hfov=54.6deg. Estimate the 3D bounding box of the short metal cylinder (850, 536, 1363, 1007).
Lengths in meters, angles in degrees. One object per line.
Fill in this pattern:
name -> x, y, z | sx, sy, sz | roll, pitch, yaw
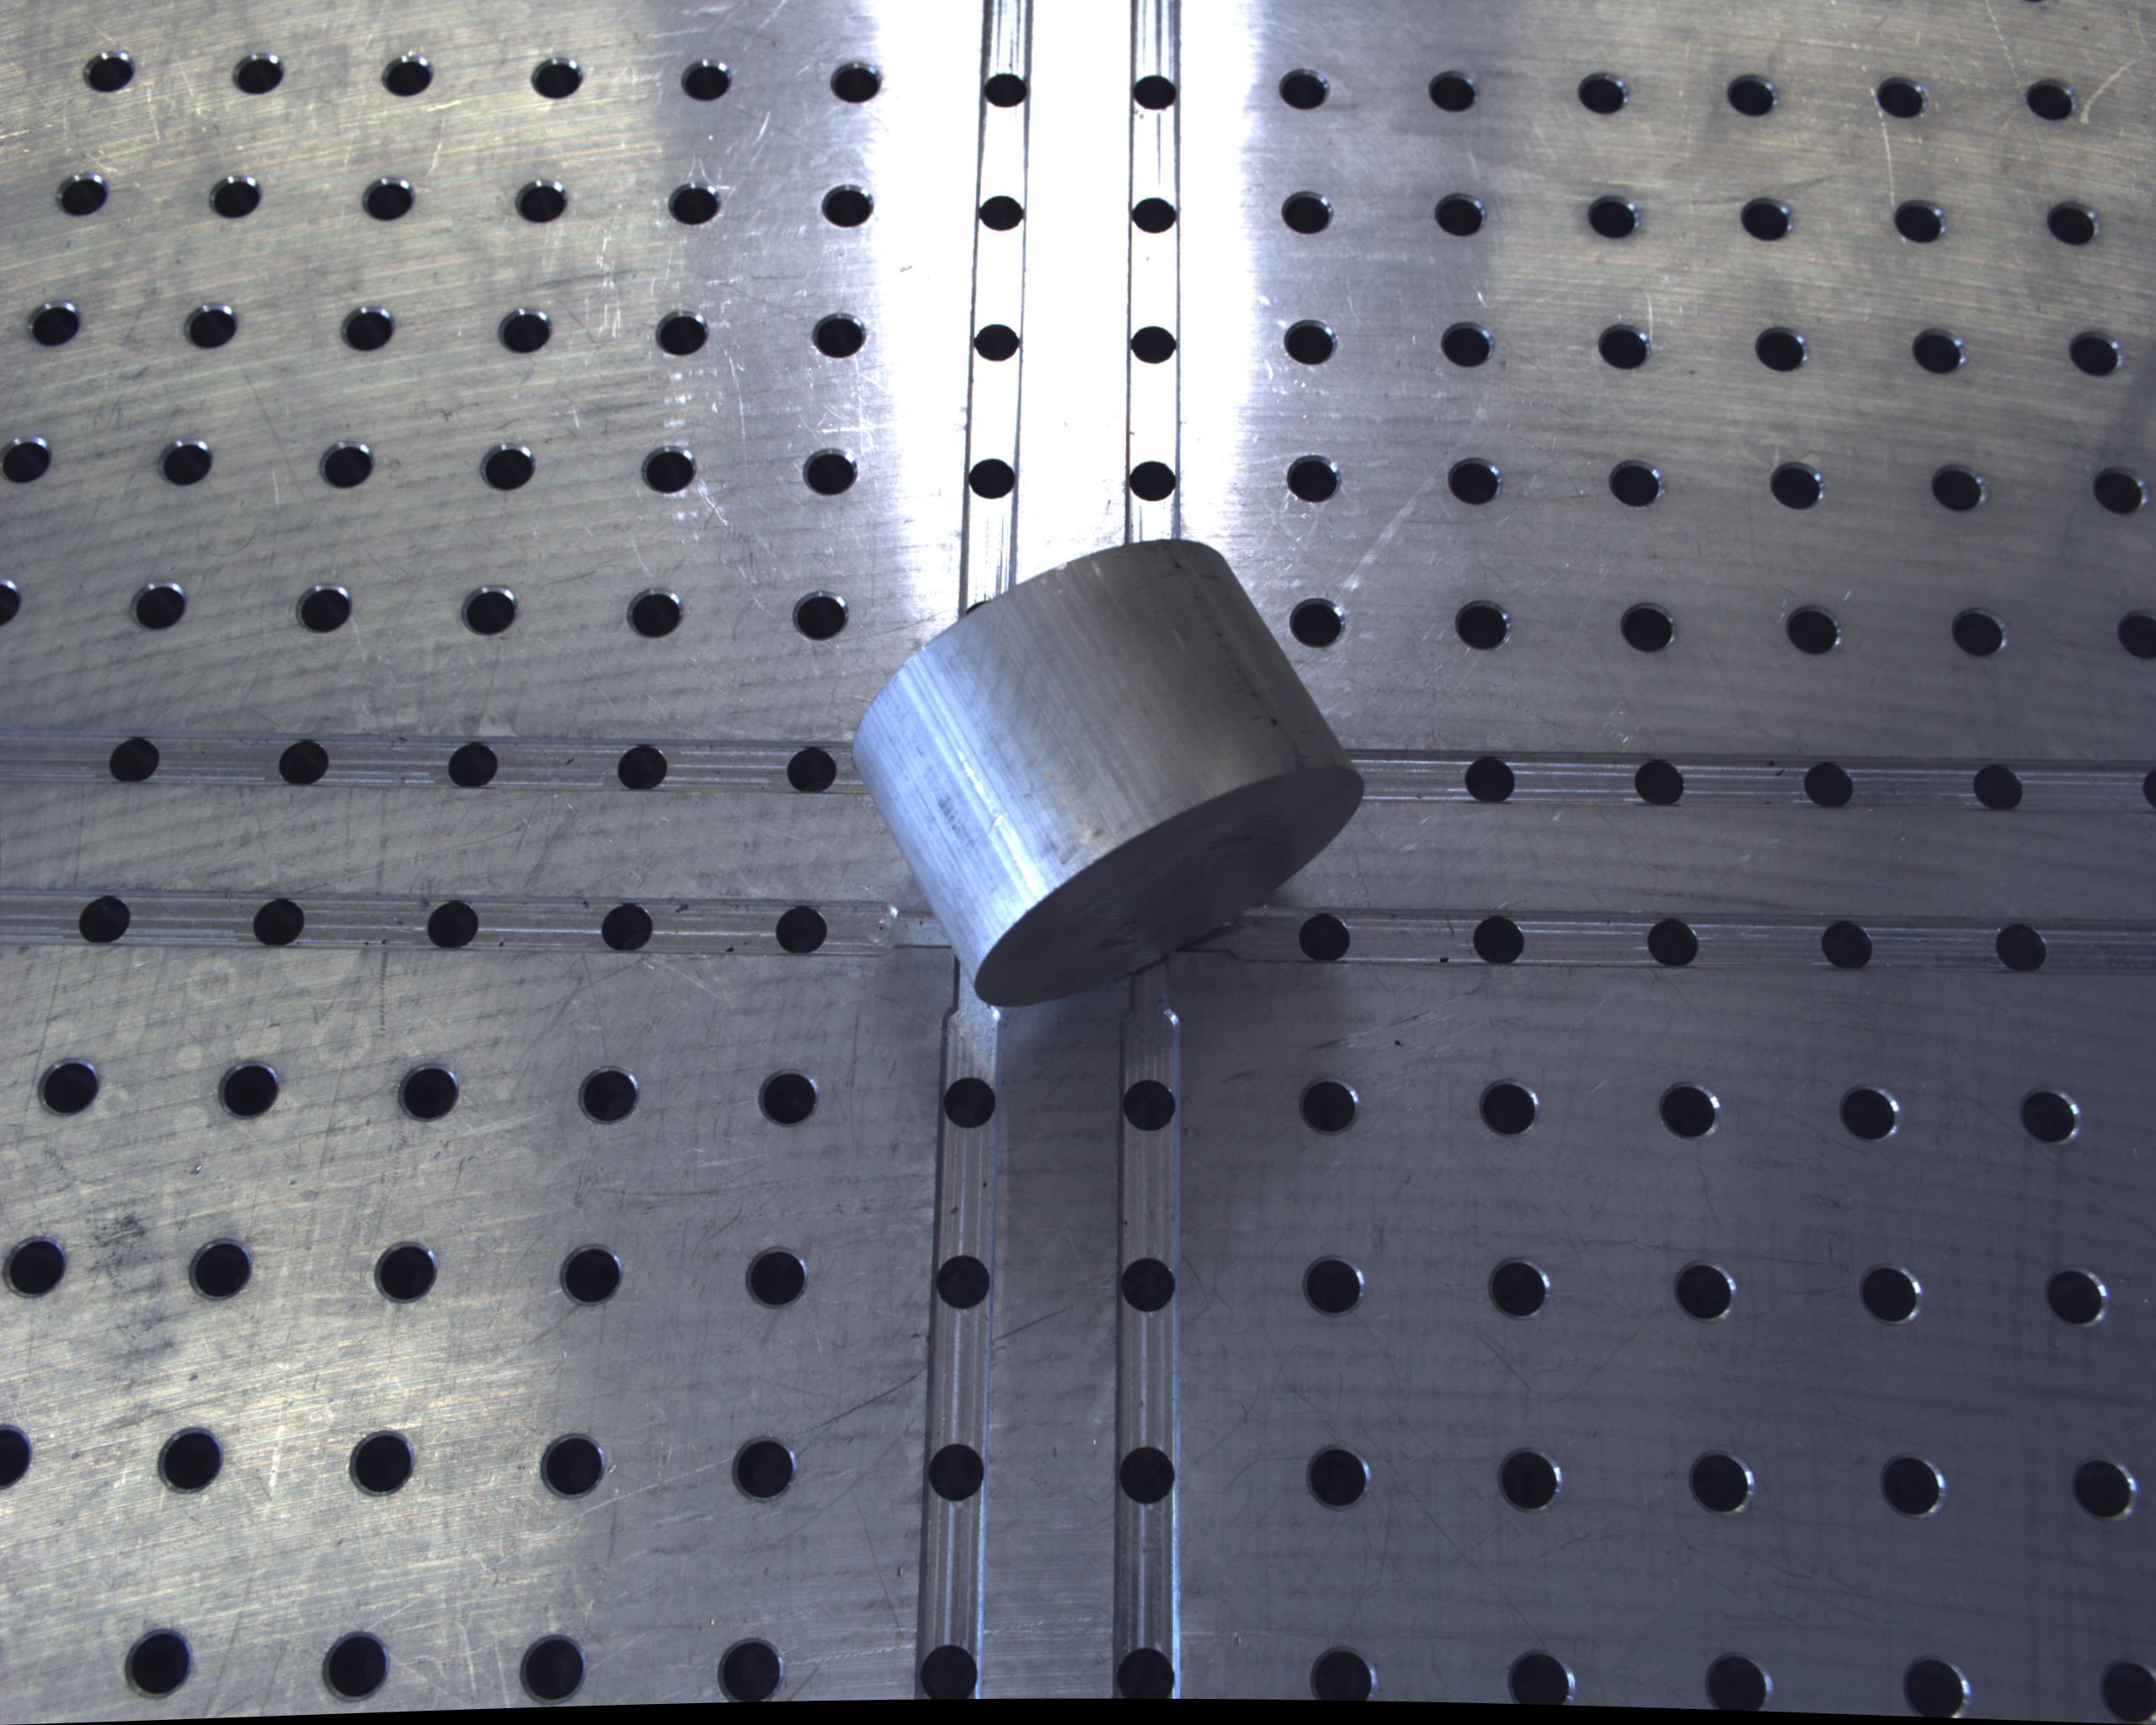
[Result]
short metal cylinder -> 0.005, -0.016, 0.388 | 0.080, 0.080, 0.050 | -27, 72, -9
